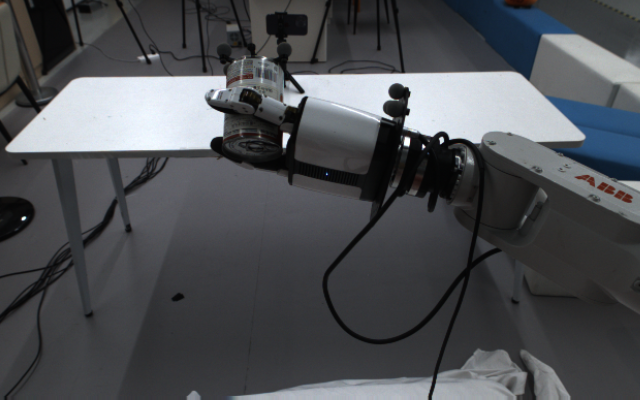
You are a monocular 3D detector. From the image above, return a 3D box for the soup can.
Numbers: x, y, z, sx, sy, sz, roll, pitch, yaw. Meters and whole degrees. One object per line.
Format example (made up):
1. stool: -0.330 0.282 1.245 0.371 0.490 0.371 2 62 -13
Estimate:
1. soup can: -0.074 -0.102 0.548 0.067 0.067 0.101 1 72 -2
